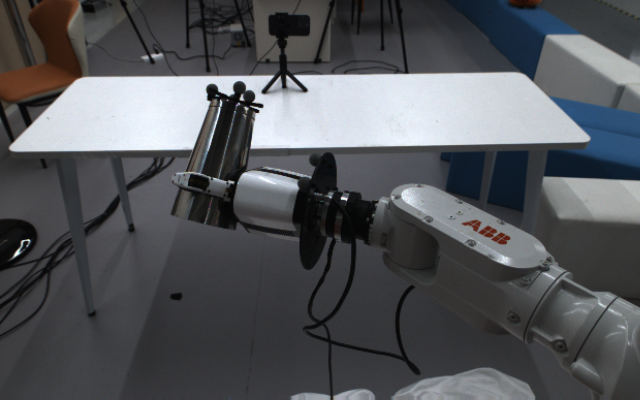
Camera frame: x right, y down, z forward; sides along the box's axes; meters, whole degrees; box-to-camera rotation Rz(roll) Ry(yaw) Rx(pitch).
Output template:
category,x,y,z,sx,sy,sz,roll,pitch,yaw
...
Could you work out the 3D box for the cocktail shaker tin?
category,x,y,z,sx,sy,sz,roll,pitch,yaw
cocktail shaker tin,-0.144,-0.050,0.683,0.093,0.170,0.093,14,-4,1
